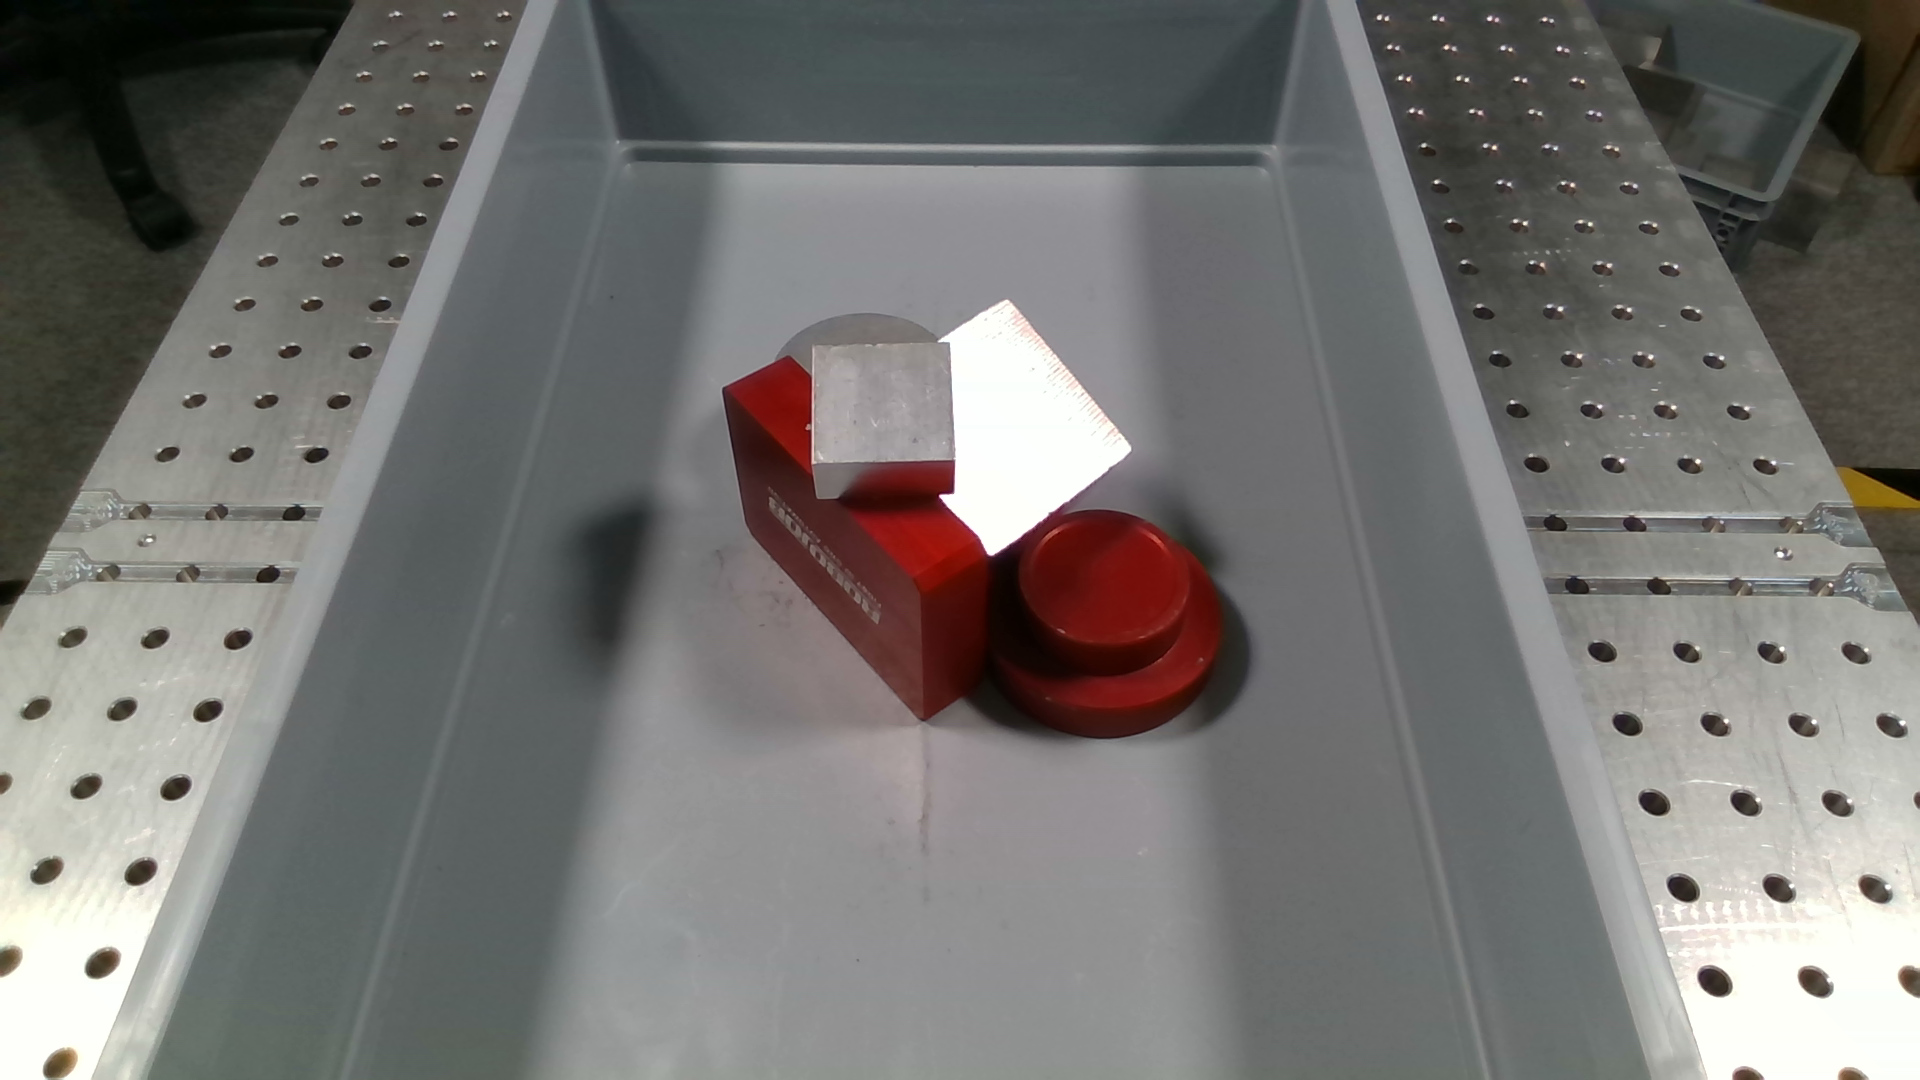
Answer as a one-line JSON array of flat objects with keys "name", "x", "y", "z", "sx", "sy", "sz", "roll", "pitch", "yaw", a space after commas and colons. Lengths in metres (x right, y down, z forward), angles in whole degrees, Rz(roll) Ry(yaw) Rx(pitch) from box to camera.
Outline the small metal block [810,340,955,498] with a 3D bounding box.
[{"name": "small metal block", "x": -0.028, "y": -0.044, "z": 0.497, "sx": 0.050, "sy": 0.025, "sz": 0.050, "roll": -2, "pitch": 63, "yaw": -2}]

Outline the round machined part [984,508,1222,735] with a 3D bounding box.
[{"name": "round machined part", "x": 0.056, "y": 0.026, "z": 0.552, "sx": 0.098, "sy": 0.042, "sz": 0.098, "roll": 0, "pitch": 50, "yaw": 0}]

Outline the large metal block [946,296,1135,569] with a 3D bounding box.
[{"name": "large metal block", "x": 0.008, "y": -0.037, "z": 0.553, "sx": 0.080, "sy": 0.050, "sz": 0.080, "roll": -36, "pitch": 84, "yaw": -26}]

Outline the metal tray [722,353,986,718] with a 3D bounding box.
[{"name": "metal tray", "x": -0.043, "y": -0.002, "z": 0.544, "sx": 0.030, "sy": 0.090, "sz": 0.130, "roll": -31, "pitch": 57, "yaw": -24}]

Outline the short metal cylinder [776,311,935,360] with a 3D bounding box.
[{"name": "short metal cylinder", "x": -0.043, "y": -0.057, "z": 0.616, "sx": 0.080, "sy": 0.050, "sz": 0.080, "roll": 0, "pitch": 50, "yaw": 0}]
